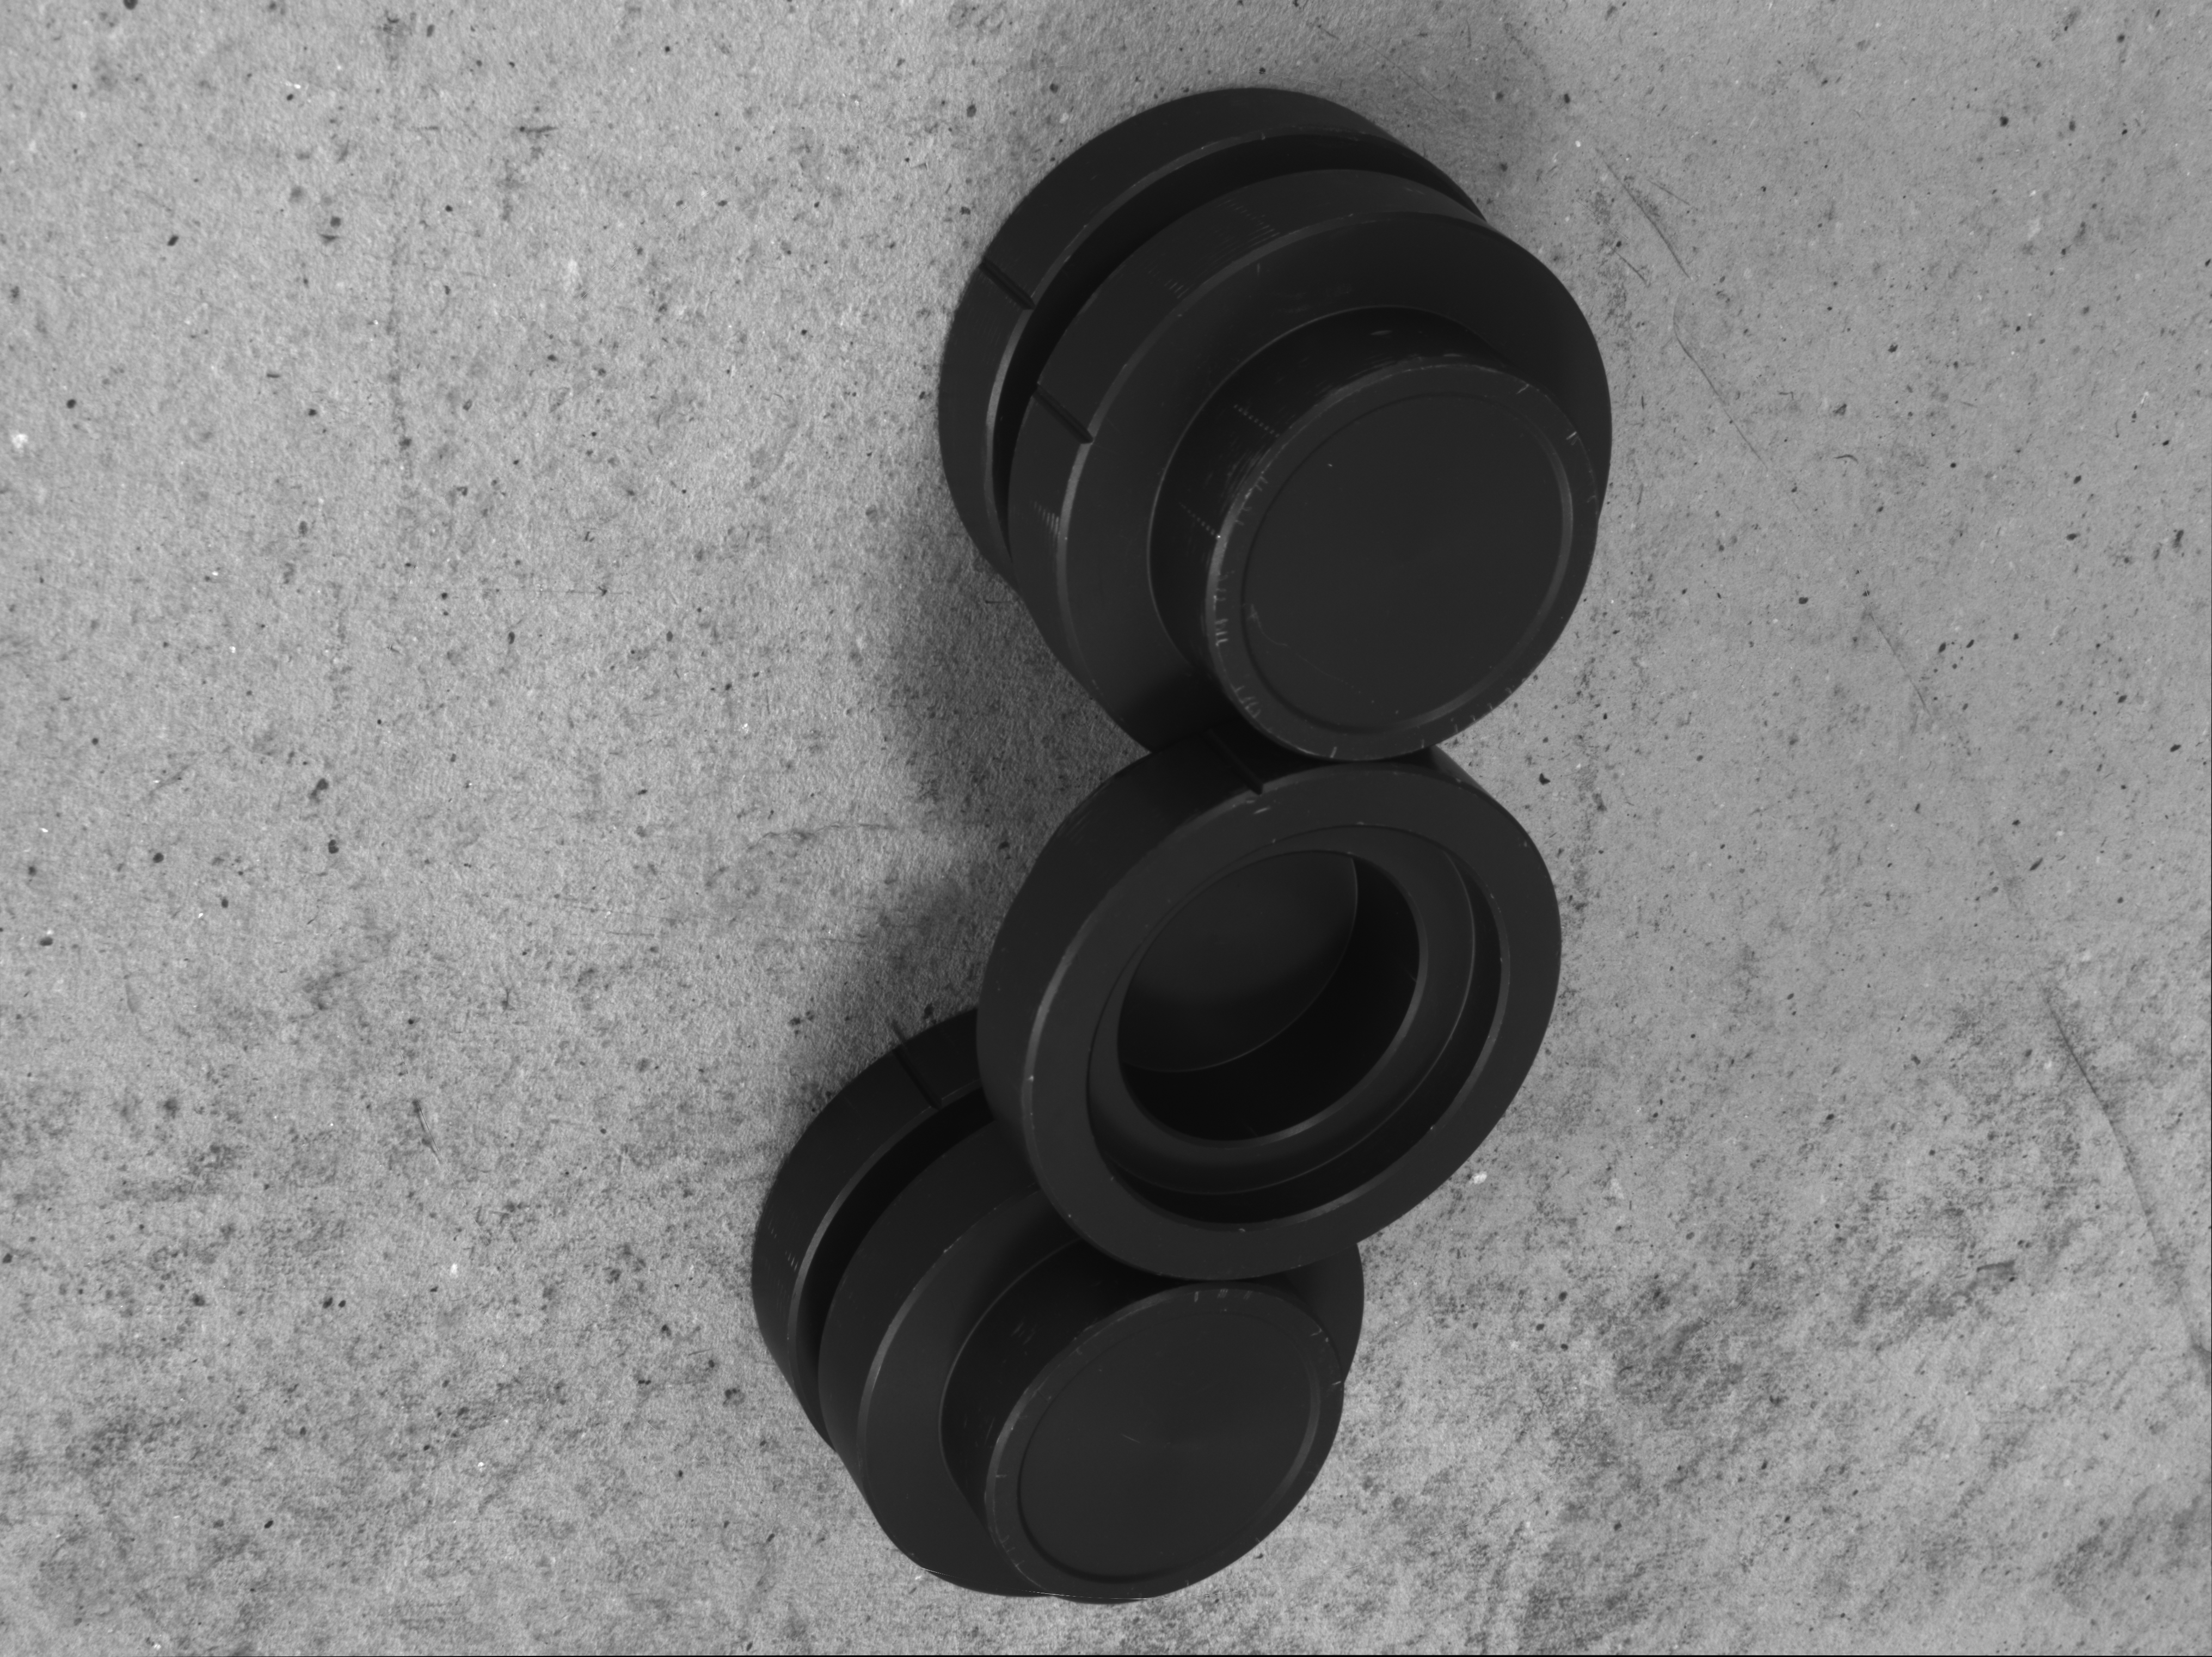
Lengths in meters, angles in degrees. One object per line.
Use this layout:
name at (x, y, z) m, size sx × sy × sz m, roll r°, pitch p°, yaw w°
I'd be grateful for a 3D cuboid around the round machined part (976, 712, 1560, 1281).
round machined part at (0.023, 0.023, 0.612) m, size 0.098 × 0.042 × 0.098 m, roll -14°, pitch 124°, yaw -21°

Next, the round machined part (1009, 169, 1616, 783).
round machined part at (0.038, -0.050, 0.575) m, size 0.098 × 0.042 × 0.098 m, roll -13°, pitch 124°, yaw -20°

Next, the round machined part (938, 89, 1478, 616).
round machined part at (0.025, -0.067, 0.599) m, size 0.098 × 0.042 × 0.098 m, roll -12°, pitch 123°, yaw -19°

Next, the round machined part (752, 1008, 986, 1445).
round machined part at (-0.012, 0.083, 0.672) m, size 0.098 × 0.042 × 0.098 m, roll -13°, pitch 122°, yaw -21°

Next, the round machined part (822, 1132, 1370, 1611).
round machined part at (0.003, 0.098, 0.644) m, size 0.098 × 0.042 × 0.098 m, roll -13°, pitch 124°, yaw -20°
